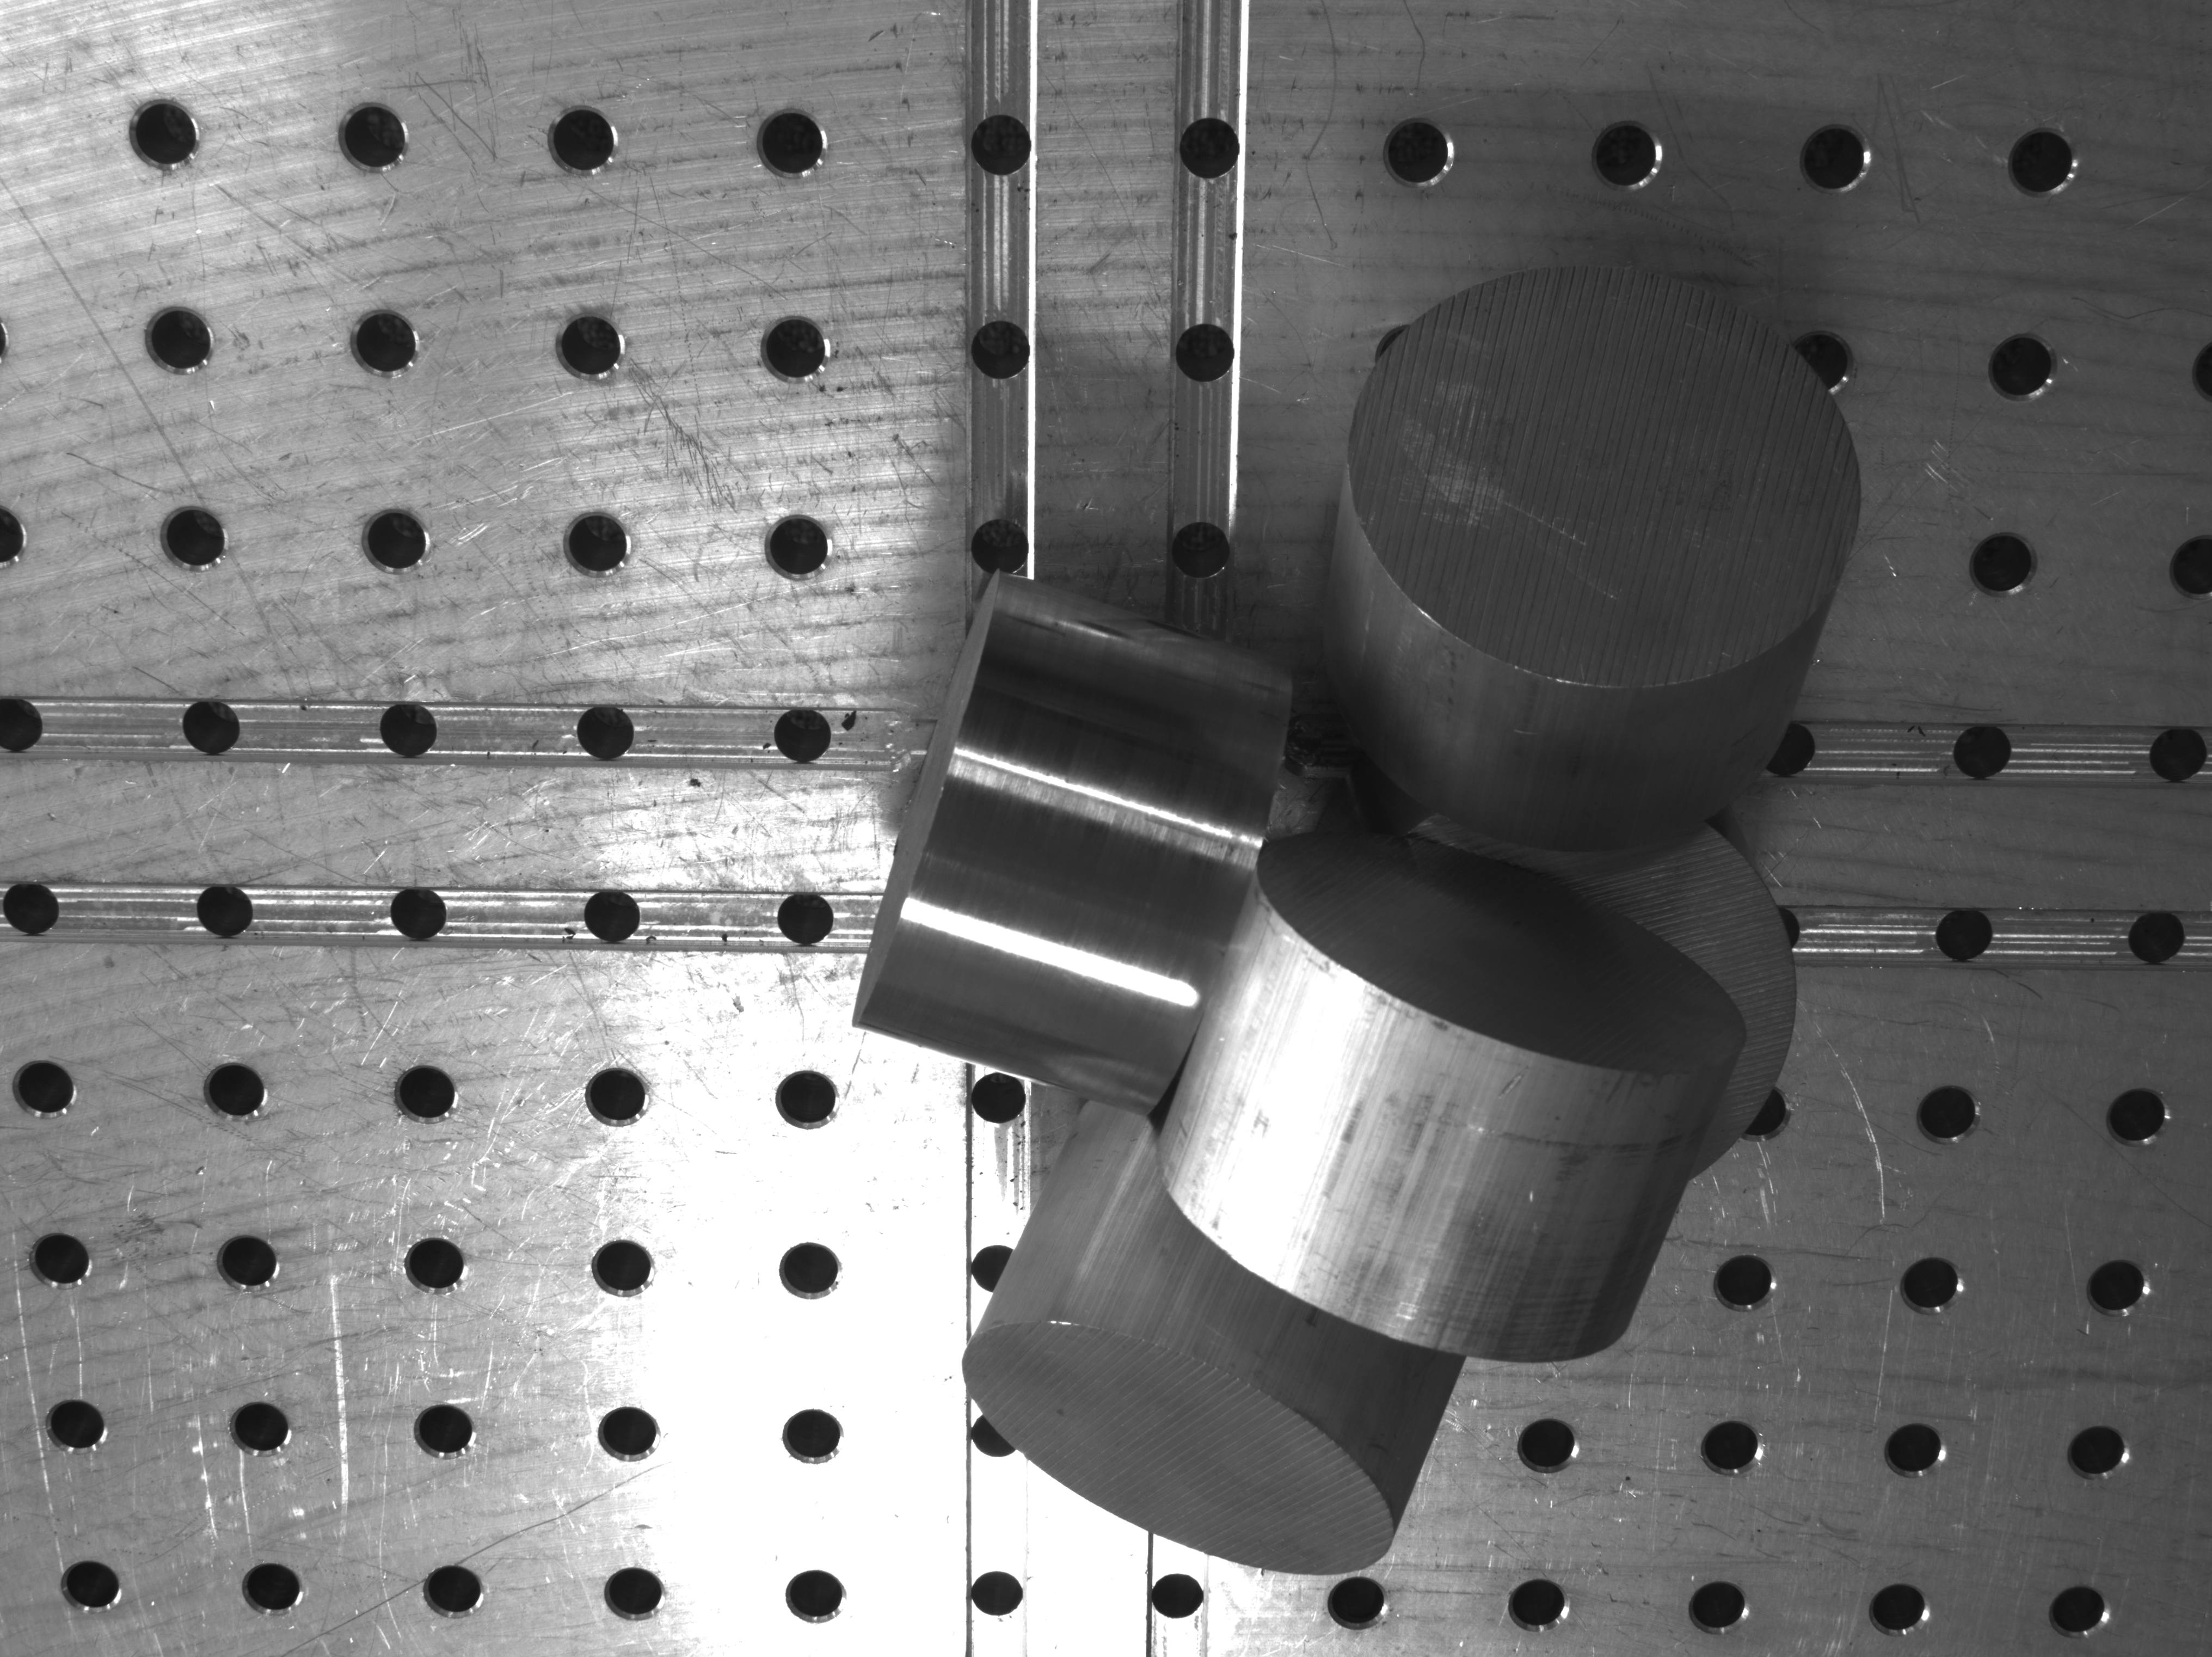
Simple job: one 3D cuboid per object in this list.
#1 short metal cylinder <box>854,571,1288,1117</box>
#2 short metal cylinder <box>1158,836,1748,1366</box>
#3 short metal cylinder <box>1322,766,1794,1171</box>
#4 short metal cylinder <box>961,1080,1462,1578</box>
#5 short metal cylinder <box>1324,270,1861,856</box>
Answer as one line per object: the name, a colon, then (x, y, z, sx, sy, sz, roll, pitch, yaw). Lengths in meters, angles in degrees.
short metal cylinder: (-0.007, 0.003, 0.618, 0.050, 0.080, 0.080, 18, 109, -6)
short metal cylinder: (0.054, 0.041, 0.578, 0.080, 0.080, 0.050, 16, 109, -6)
short metal cylinder: (0.075, 0.022, 0.640, 0.080, 0.050, 0.080, 0, 109, 1)
short metal cylinder: (0.021, 0.088, 0.643, 0.080, 0.050, 0.080, 19, 149, 12)
short metal cylinder: (0.077, -0.043, 0.594, 0.080, 0.080, 0.050, 2, 150, -1)
